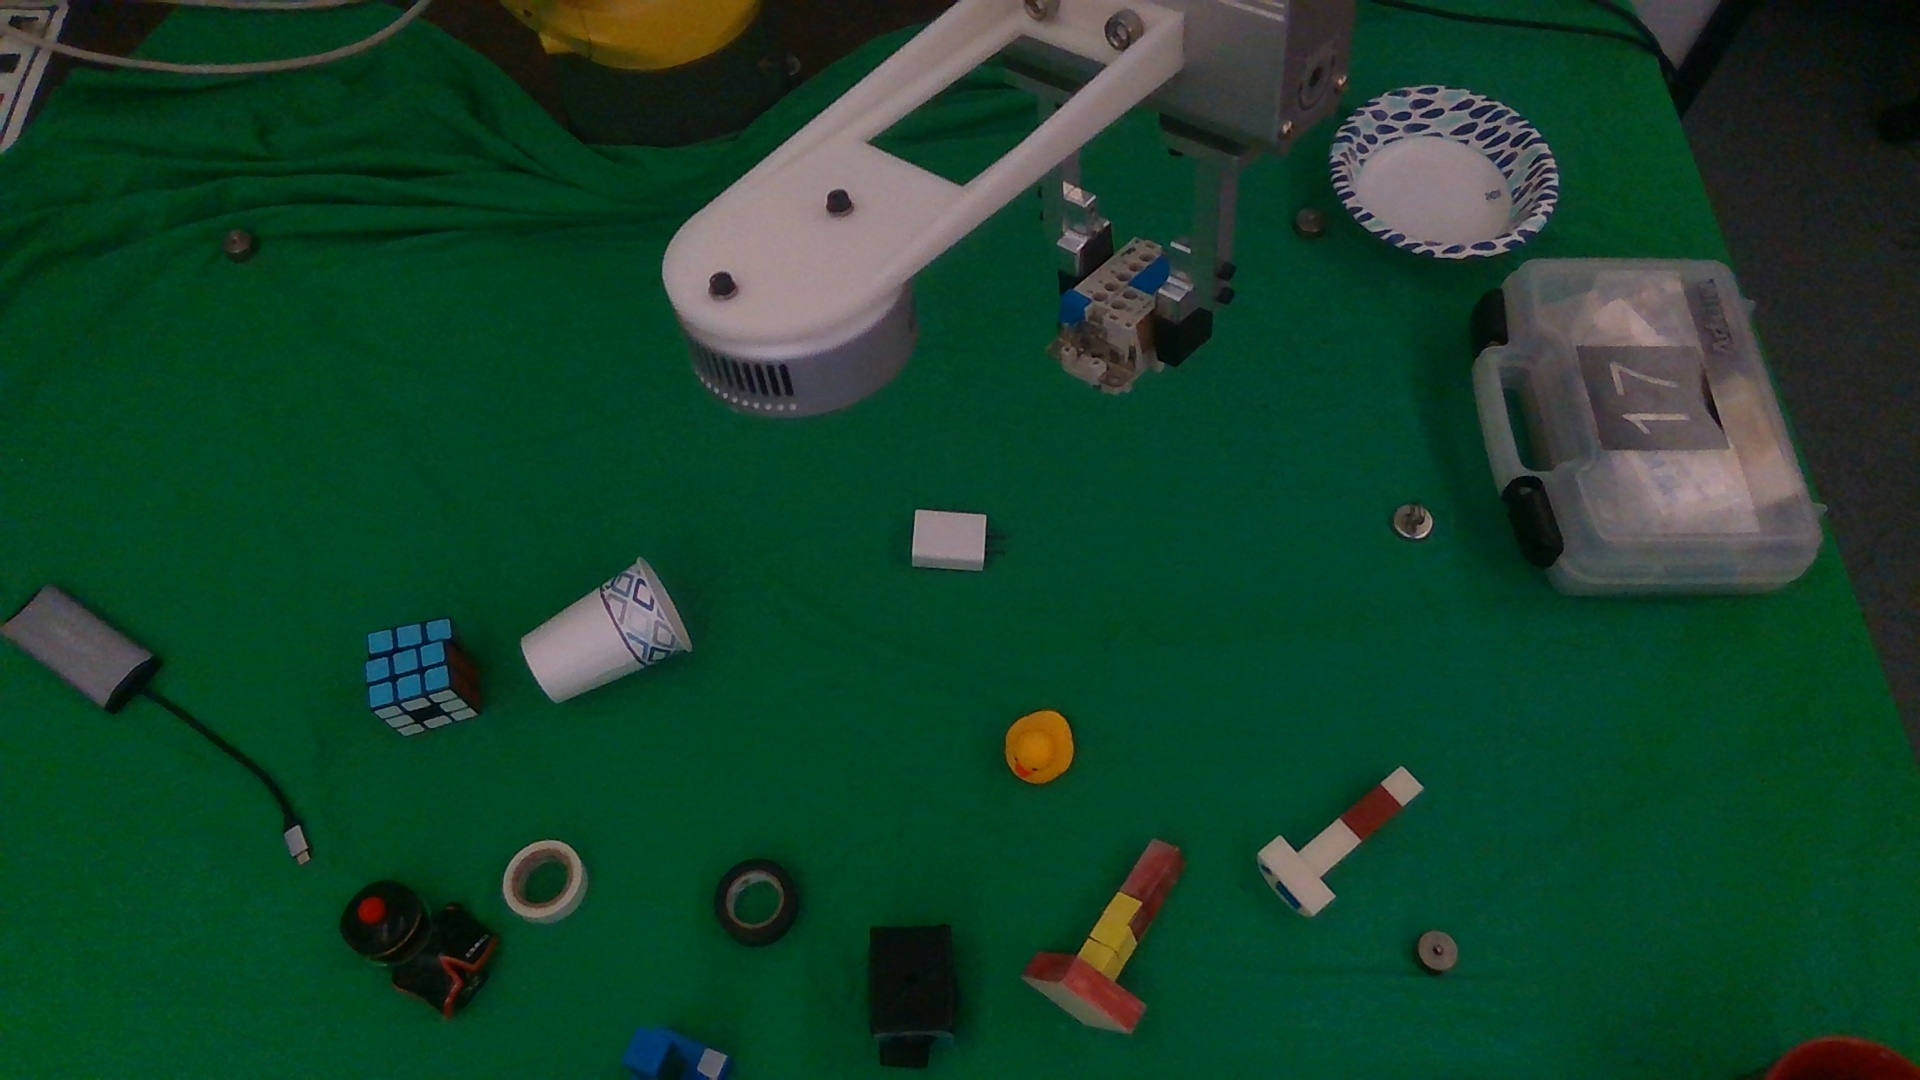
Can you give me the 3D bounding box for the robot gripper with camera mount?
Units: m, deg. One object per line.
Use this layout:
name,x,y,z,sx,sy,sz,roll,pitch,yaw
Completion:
robot gripper with camera mount,0.001,-0.078,0.402,0.119,0.158,0.193,32,61,29

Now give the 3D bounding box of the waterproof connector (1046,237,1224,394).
waterproof connector,0.063,-0.079,0.496,0.035,0.037,0.065,29,56,33
